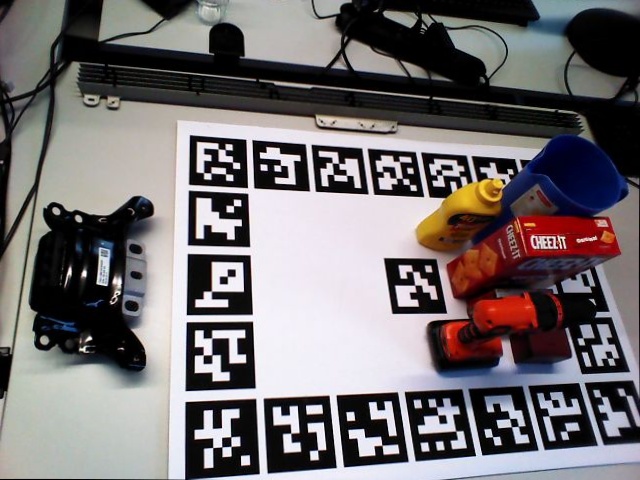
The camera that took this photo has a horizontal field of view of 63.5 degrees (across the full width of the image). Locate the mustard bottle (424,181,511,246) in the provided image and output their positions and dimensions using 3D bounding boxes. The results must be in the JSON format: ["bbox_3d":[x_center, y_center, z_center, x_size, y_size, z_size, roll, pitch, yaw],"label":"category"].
[{"bbox_3d":[0.251,-0.053,0.843,0.096,0.192,0.058,15,65,-7],"label":"mustard bottle"}]

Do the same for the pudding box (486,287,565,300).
[{"bbox_3d":[0.324,0.107,0.844,0.114,0.090,0.038,2,65,-10],"label":"pudding box"}]

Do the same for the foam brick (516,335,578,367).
[{"bbox_3d":[0.376,0.182,0.861,0.078,0.051,0.052,5,68,-12],"label":"foam brick"}]

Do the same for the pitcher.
[{"bbox_3d":[0.383,-0.052,0.862,0.189,0.244,0.132,8,65,-8],"label":"pitcher"}]

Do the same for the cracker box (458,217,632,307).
[{"bbox_3d":[0.341,0.042,0.817,0.164,0.215,0.071,0,65,-11],"label":"cracker box"}]

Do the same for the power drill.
[{"bbox_3d":[0.282,0.133,0.745,0.184,0.188,0.057,2,63,-14],"label":"power drill"}]
